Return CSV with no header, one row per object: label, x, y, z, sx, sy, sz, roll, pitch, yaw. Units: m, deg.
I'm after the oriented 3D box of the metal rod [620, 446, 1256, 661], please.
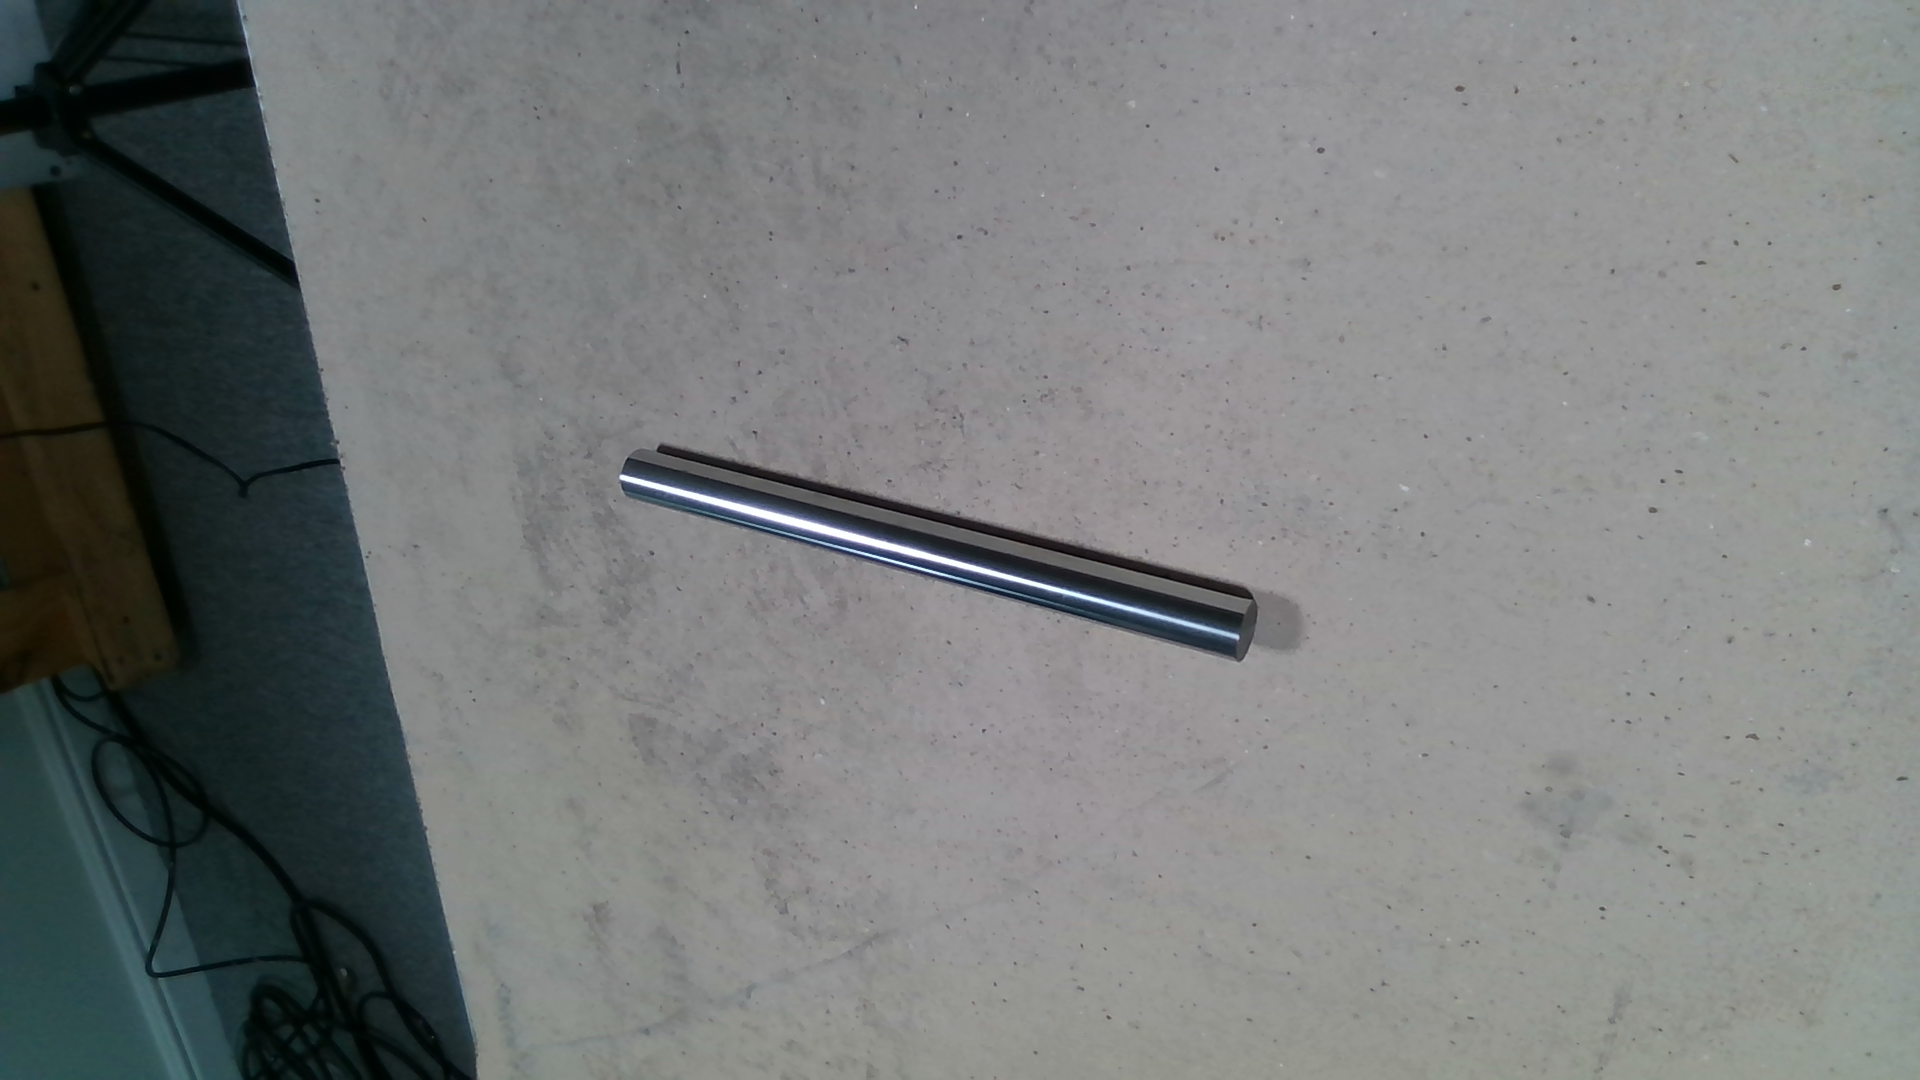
metal rod,-0.022,0.001,0.594,0.300,0.025,0.025,14,122,25
